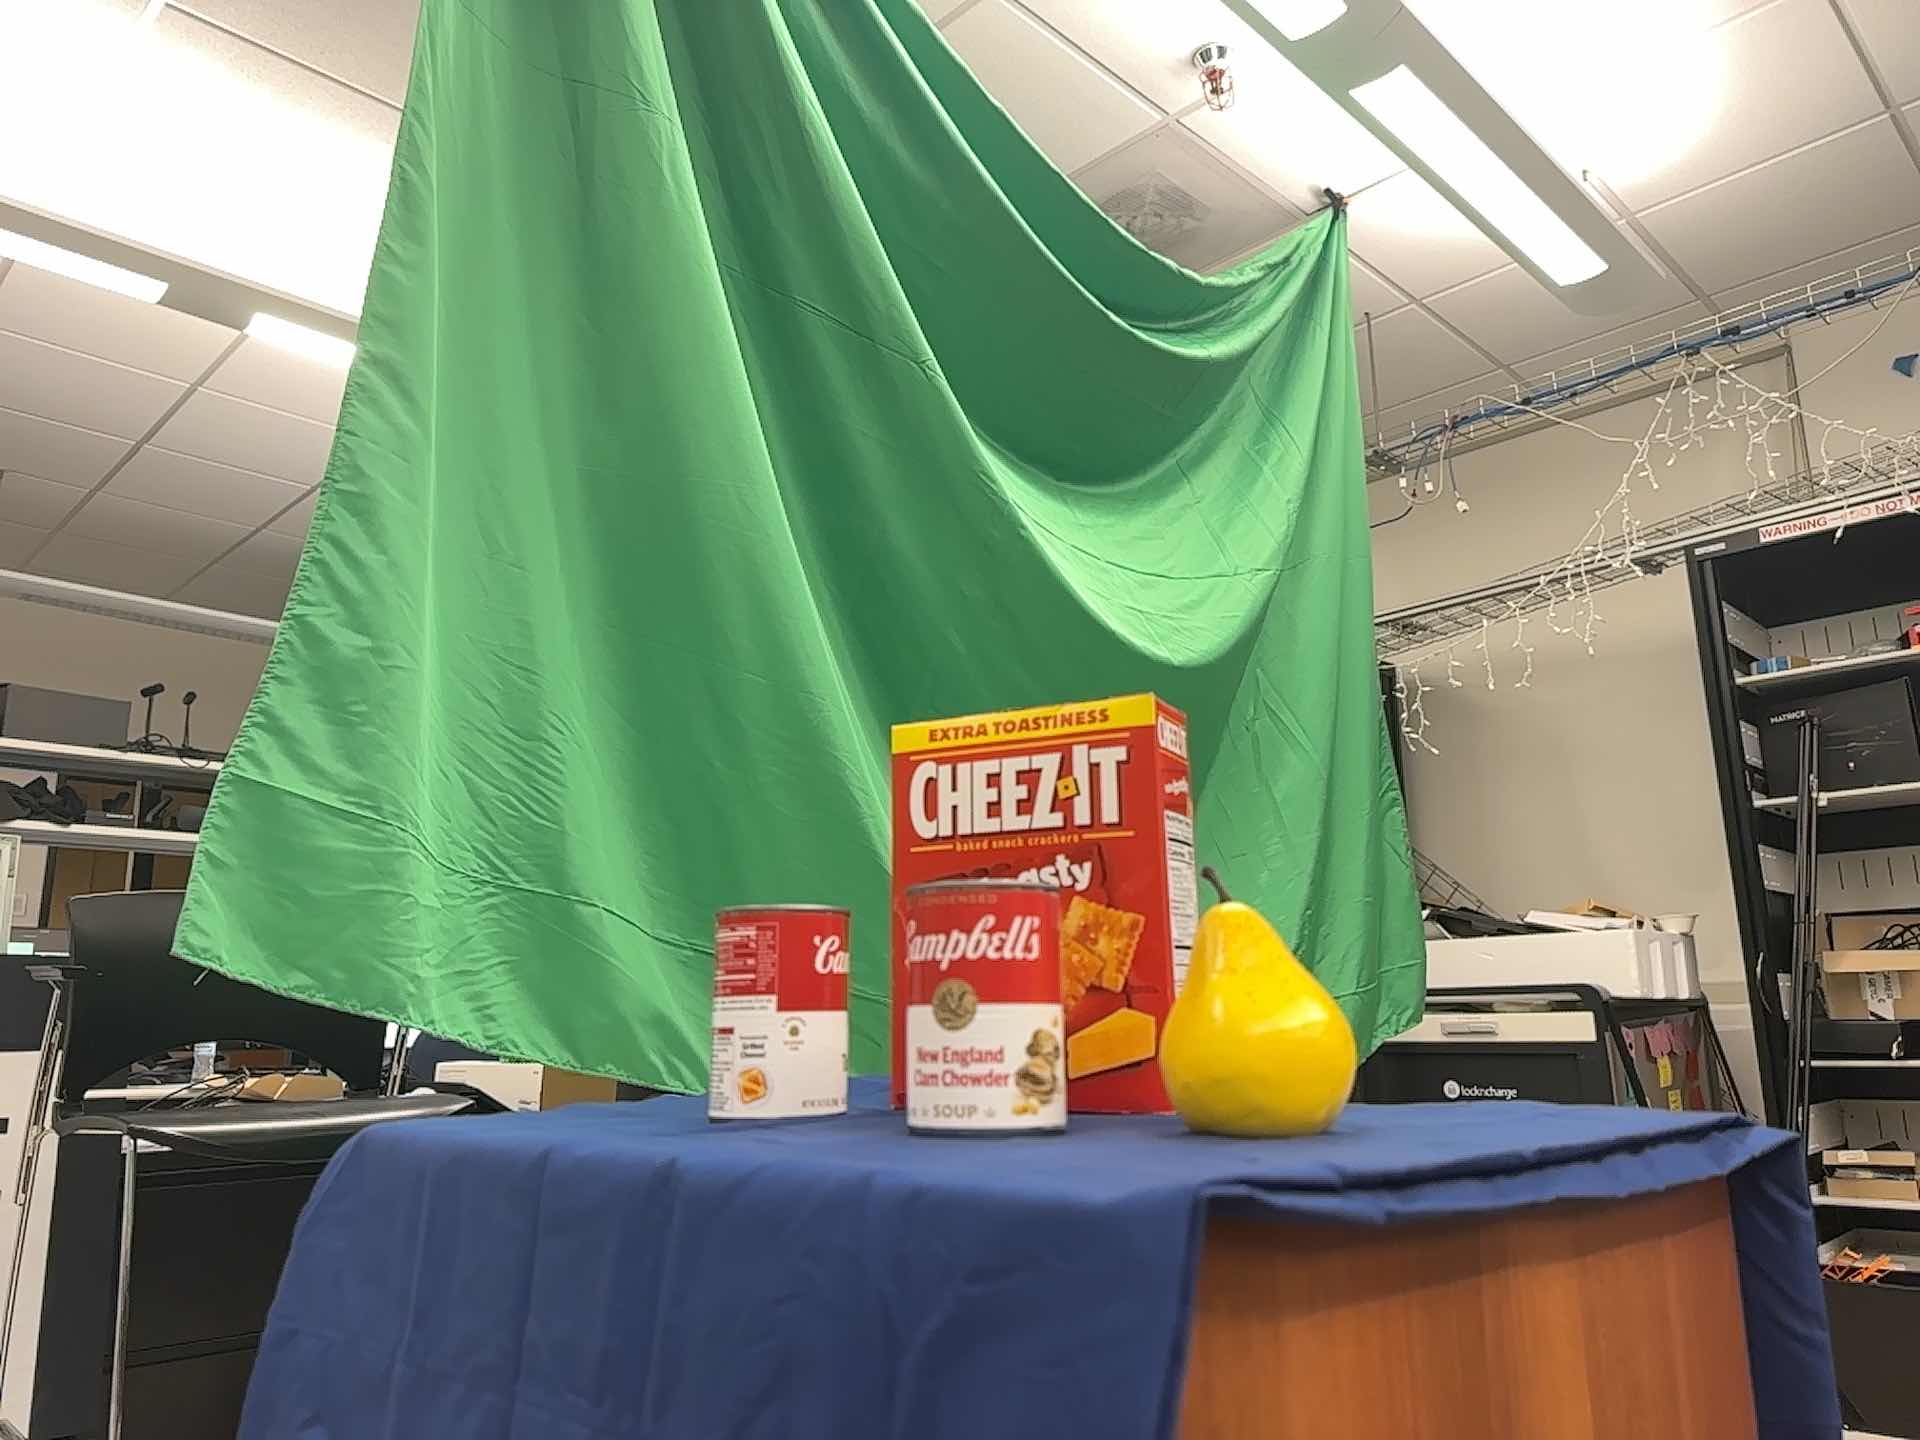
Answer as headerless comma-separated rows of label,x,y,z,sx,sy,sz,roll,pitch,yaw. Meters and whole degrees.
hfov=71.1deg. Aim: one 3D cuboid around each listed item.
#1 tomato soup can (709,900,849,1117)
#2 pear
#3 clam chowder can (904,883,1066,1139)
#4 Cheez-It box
tomato soup can,-0.090,0.143,0.666,0.067,0.102,0.067,0,-13,0
pear,0.118,0.114,0.546,0.080,0.111,0.080,0,-10,0
clam chowder can,0.010,0.124,0.577,0.068,0.102,0.068,-1,-12,0
Cheez-It box,0.048,0.105,0.752,0.159,0.214,0.062,-7,-12,27
